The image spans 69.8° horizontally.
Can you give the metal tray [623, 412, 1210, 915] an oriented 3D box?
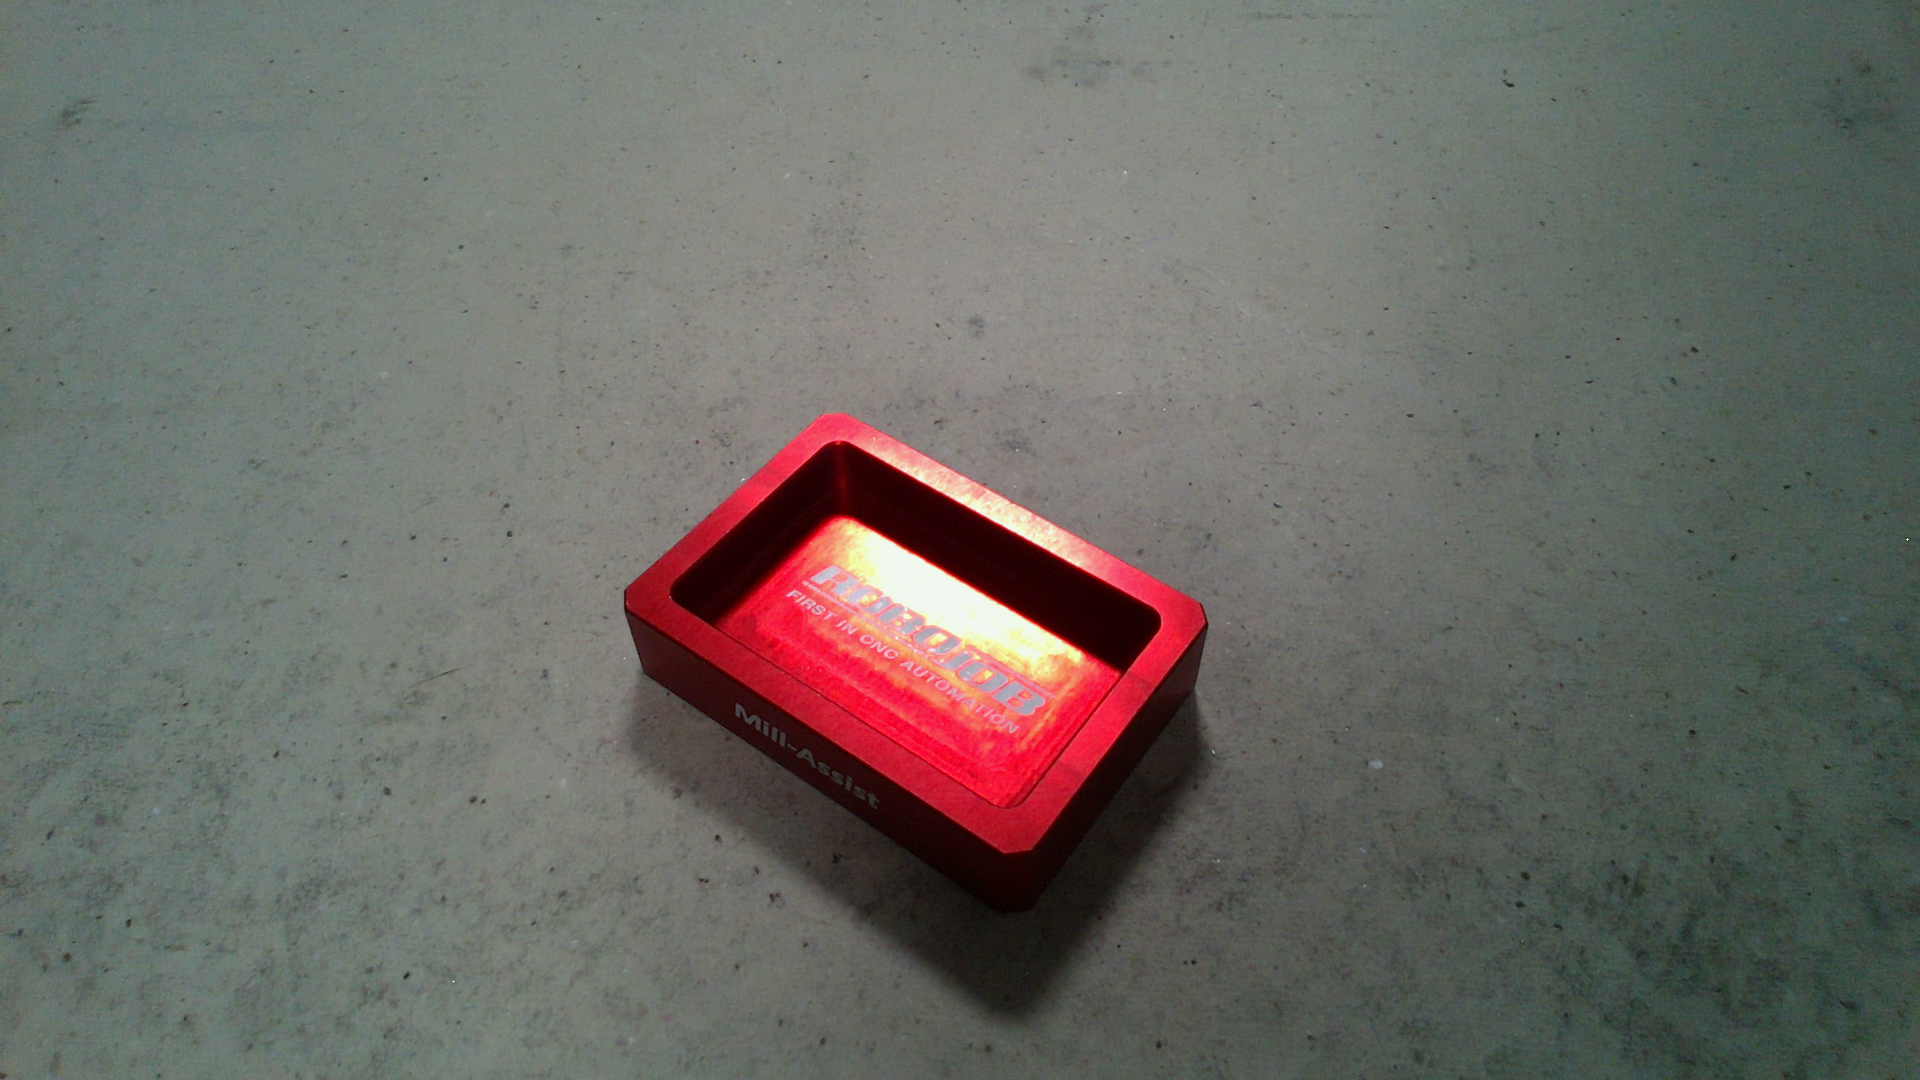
[{"bbox_3d":[-0.012,0.026,0.366,0.130,0.030,0.090,29,56,22],"label":"metal tray"}]
